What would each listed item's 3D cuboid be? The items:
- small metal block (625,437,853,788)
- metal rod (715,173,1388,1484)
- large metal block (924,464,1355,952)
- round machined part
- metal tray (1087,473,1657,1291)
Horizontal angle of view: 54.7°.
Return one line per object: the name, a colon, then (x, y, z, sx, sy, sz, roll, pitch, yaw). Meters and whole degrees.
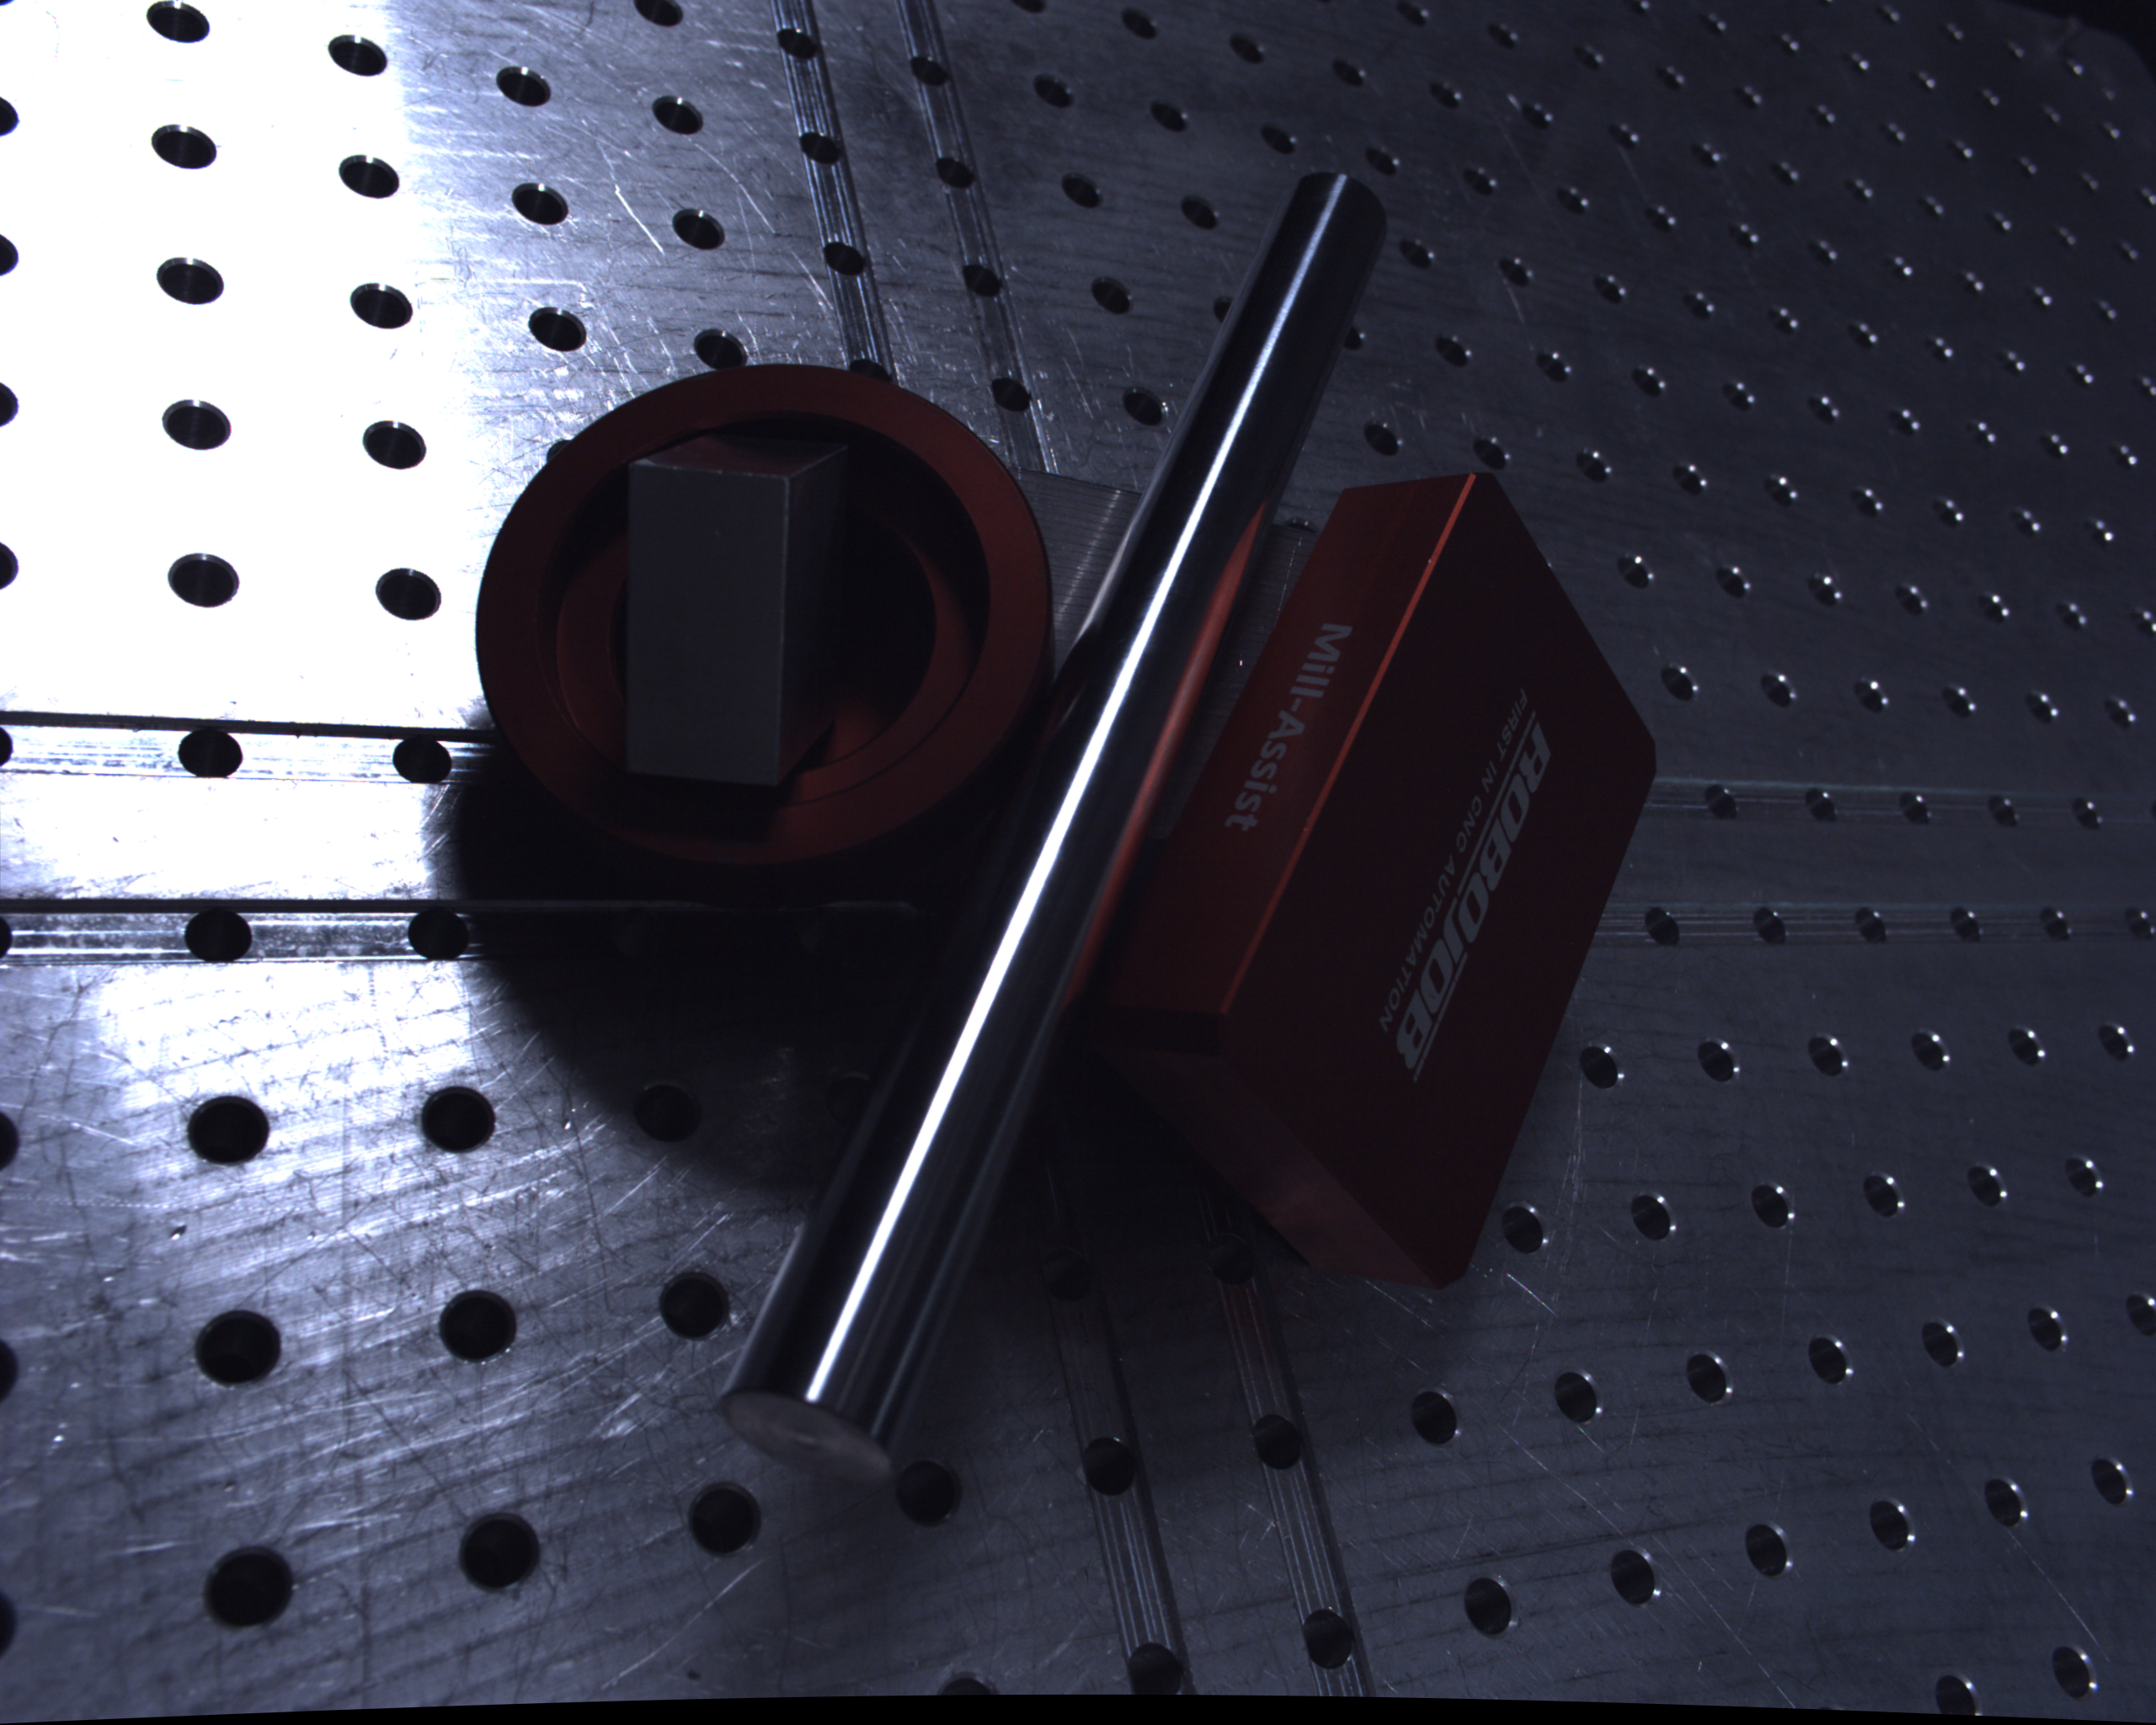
small metal block: (-0.057, -0.044, 0.354, 0.025, 0.050, 0.050, 6, 17, 4)
metal rod: (0.010, -0.032, 0.370, 0.025, 0.025, 0.300, 30, 52, -9)
large metal block: (0.015, -0.025, 0.417, 0.081, 0.050, 0.080, 9, 58, -24)
round machined part: (-0.054, -0.037, 0.375, 0.099, 0.042, 0.098, 1, 67, -1)
metal tray: (0.061, 0.003, 0.395, 0.090, 0.030, 0.130, 48, 58, -37)
